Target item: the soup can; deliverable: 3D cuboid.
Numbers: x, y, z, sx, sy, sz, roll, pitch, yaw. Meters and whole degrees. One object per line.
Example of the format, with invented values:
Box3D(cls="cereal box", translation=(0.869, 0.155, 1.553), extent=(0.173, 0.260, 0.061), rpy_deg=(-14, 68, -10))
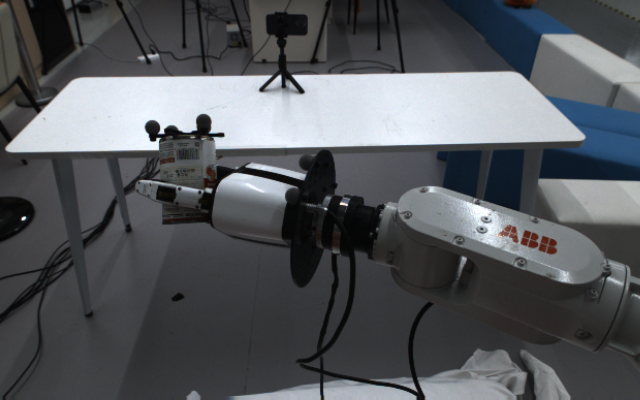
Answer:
Box3D(cls="soup can", translation=(-0.156, -0.022, 0.583), extent=(0.067, 0.101, 0.067), rpy_deg=(-4, -1, 0))
